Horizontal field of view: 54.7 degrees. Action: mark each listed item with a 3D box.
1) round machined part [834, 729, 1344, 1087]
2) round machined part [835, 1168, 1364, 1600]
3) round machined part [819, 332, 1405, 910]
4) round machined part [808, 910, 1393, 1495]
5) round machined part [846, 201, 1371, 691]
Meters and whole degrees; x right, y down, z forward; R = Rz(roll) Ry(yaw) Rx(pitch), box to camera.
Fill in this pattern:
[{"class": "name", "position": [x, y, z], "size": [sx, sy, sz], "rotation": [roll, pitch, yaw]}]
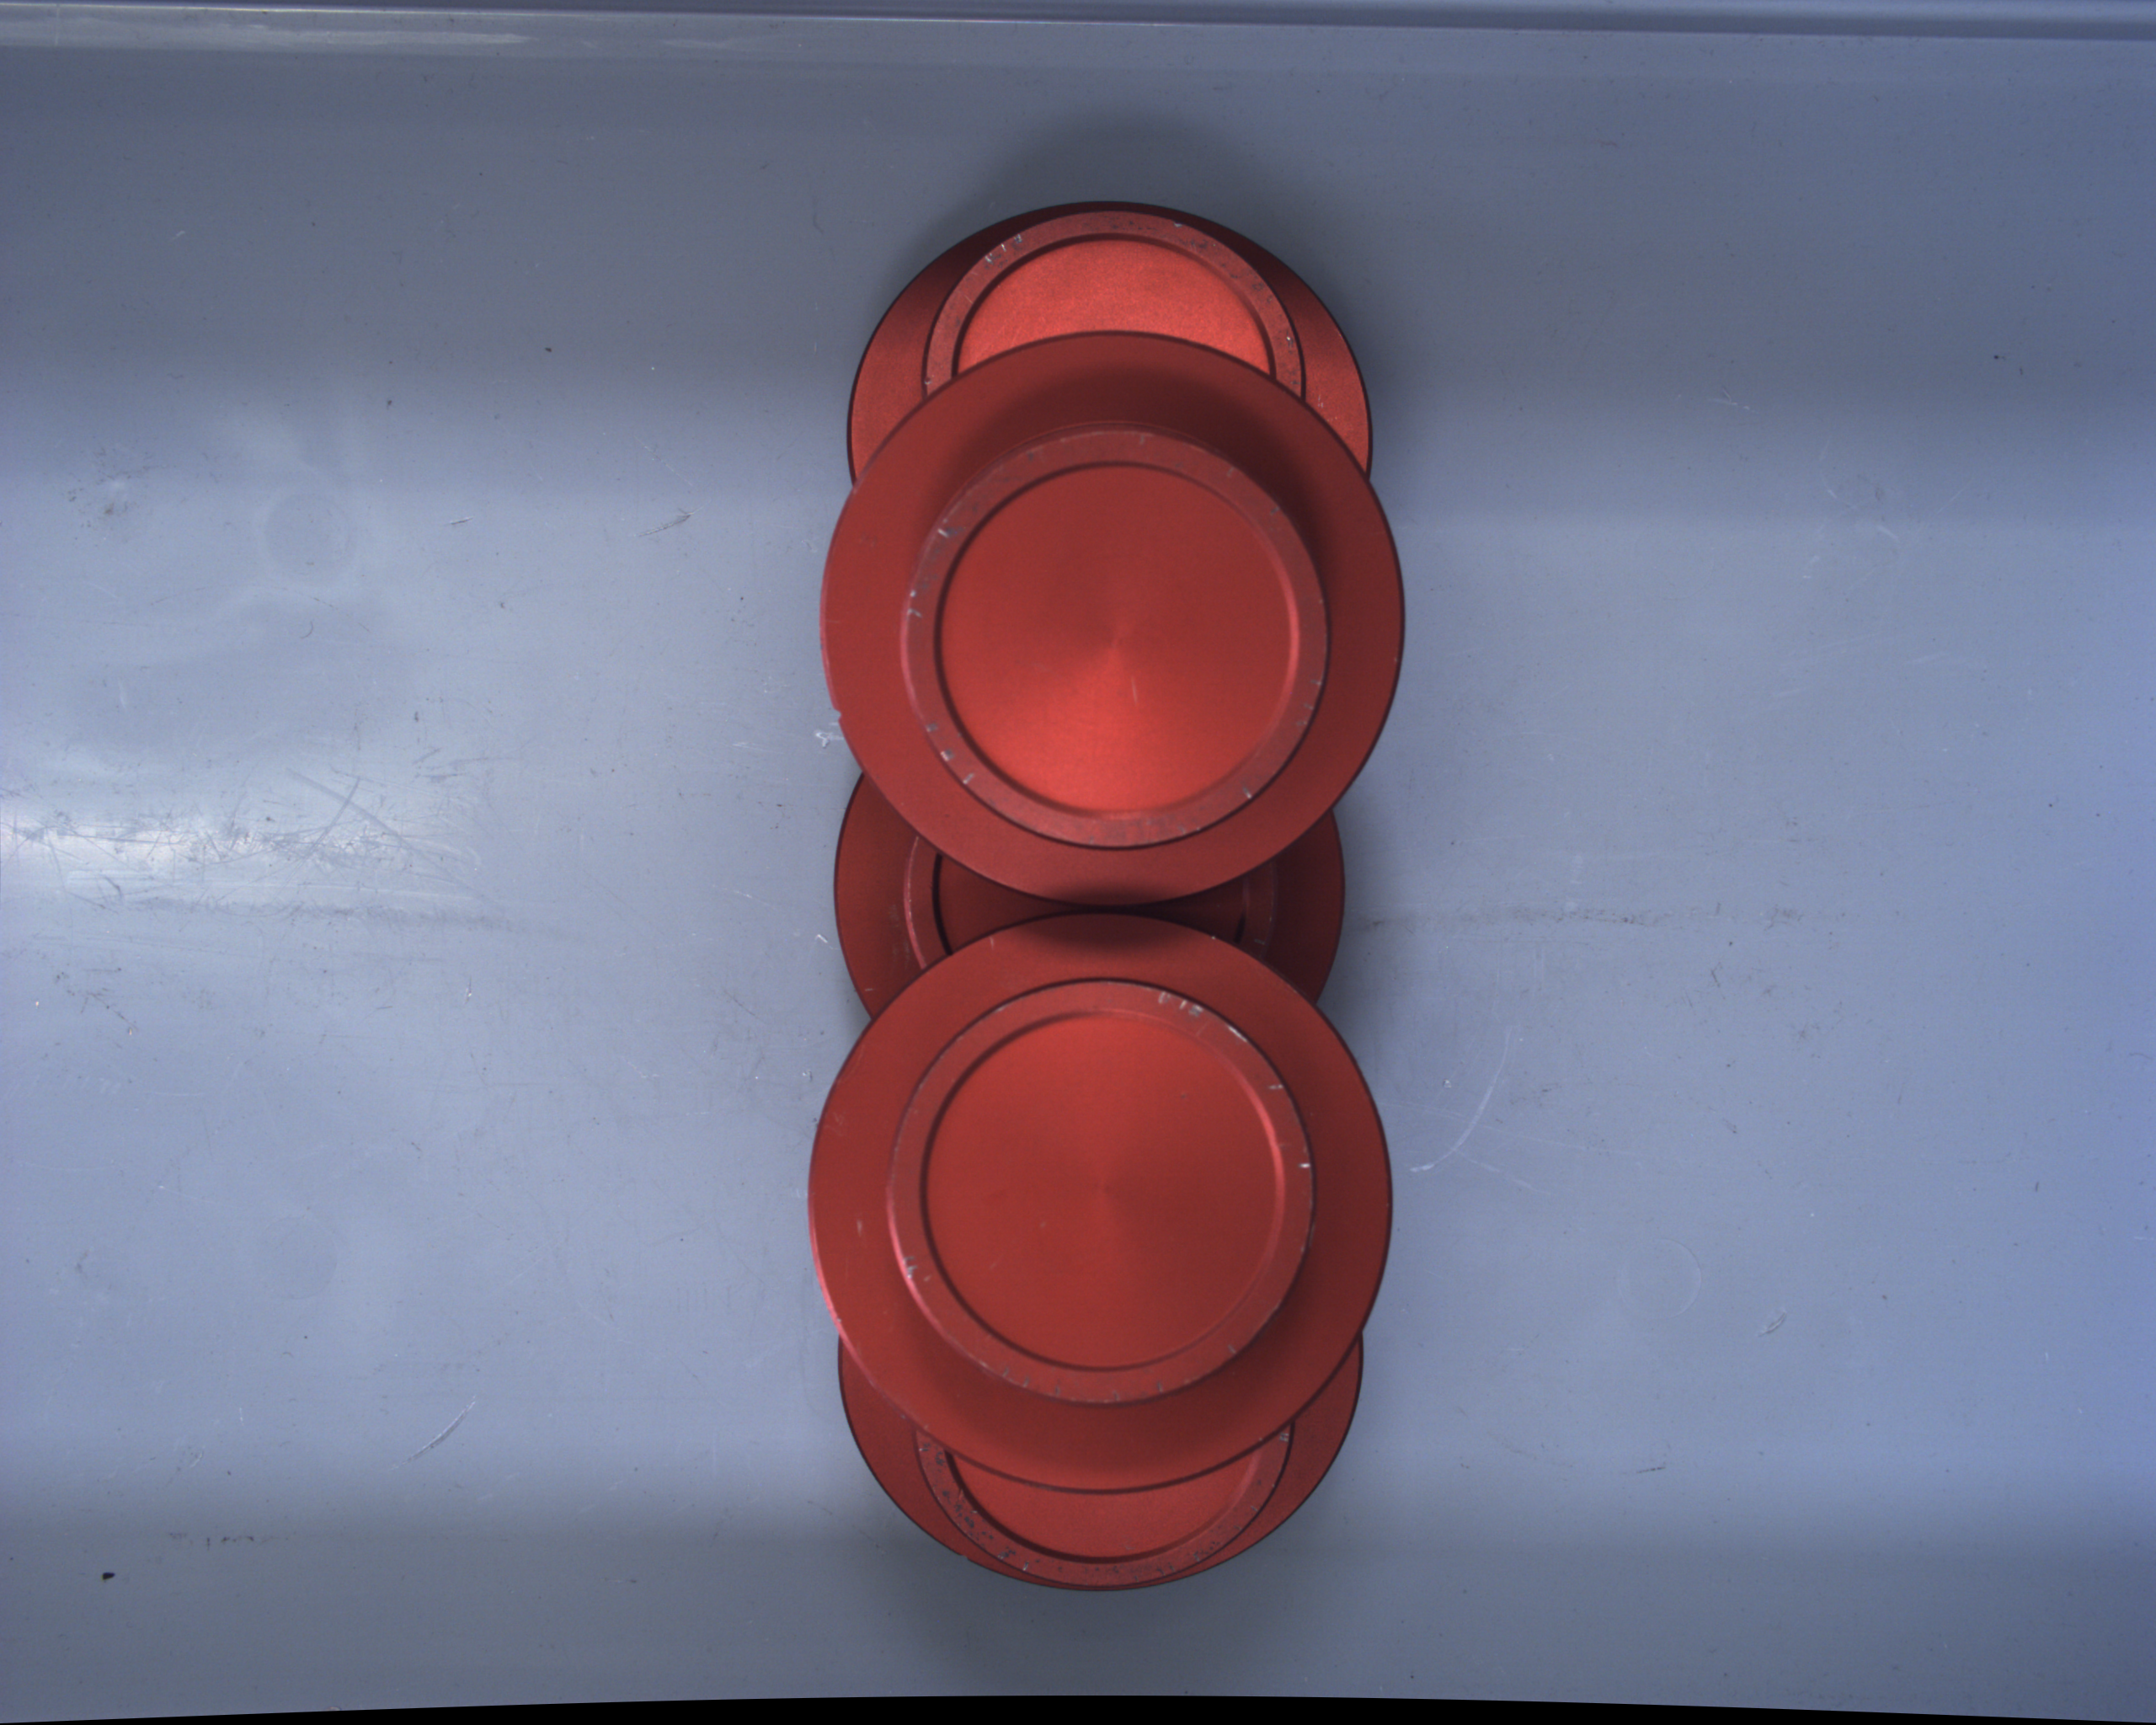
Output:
[{"class": "round machined part", "position": [0.002, 0.004, 0.401], "size": [0.099, 0.042, 0.097], "rotation": [0, 89, 0]}, {"class": "round machined part", "position": [0.004, 0.095, 0.388], "size": [0.099, 0.042, 0.097], "rotation": [0, 105, 0]}, {"class": "round machined part", "position": [0.006, -0.039, 0.350], "size": [0.099, 0.042, 0.097], "rotation": [0, 102, 0]}, {"class": "round machined part", "position": [0.004, 0.056, 0.350], "size": [0.099, 0.042, 0.098], "rotation": [0, 79, 0]}, {"class": "round machined part", "position": [0.006, -0.082, 0.390], "size": [0.099, 0.042, 0.098], "rotation": [0, 74, -1]}]
